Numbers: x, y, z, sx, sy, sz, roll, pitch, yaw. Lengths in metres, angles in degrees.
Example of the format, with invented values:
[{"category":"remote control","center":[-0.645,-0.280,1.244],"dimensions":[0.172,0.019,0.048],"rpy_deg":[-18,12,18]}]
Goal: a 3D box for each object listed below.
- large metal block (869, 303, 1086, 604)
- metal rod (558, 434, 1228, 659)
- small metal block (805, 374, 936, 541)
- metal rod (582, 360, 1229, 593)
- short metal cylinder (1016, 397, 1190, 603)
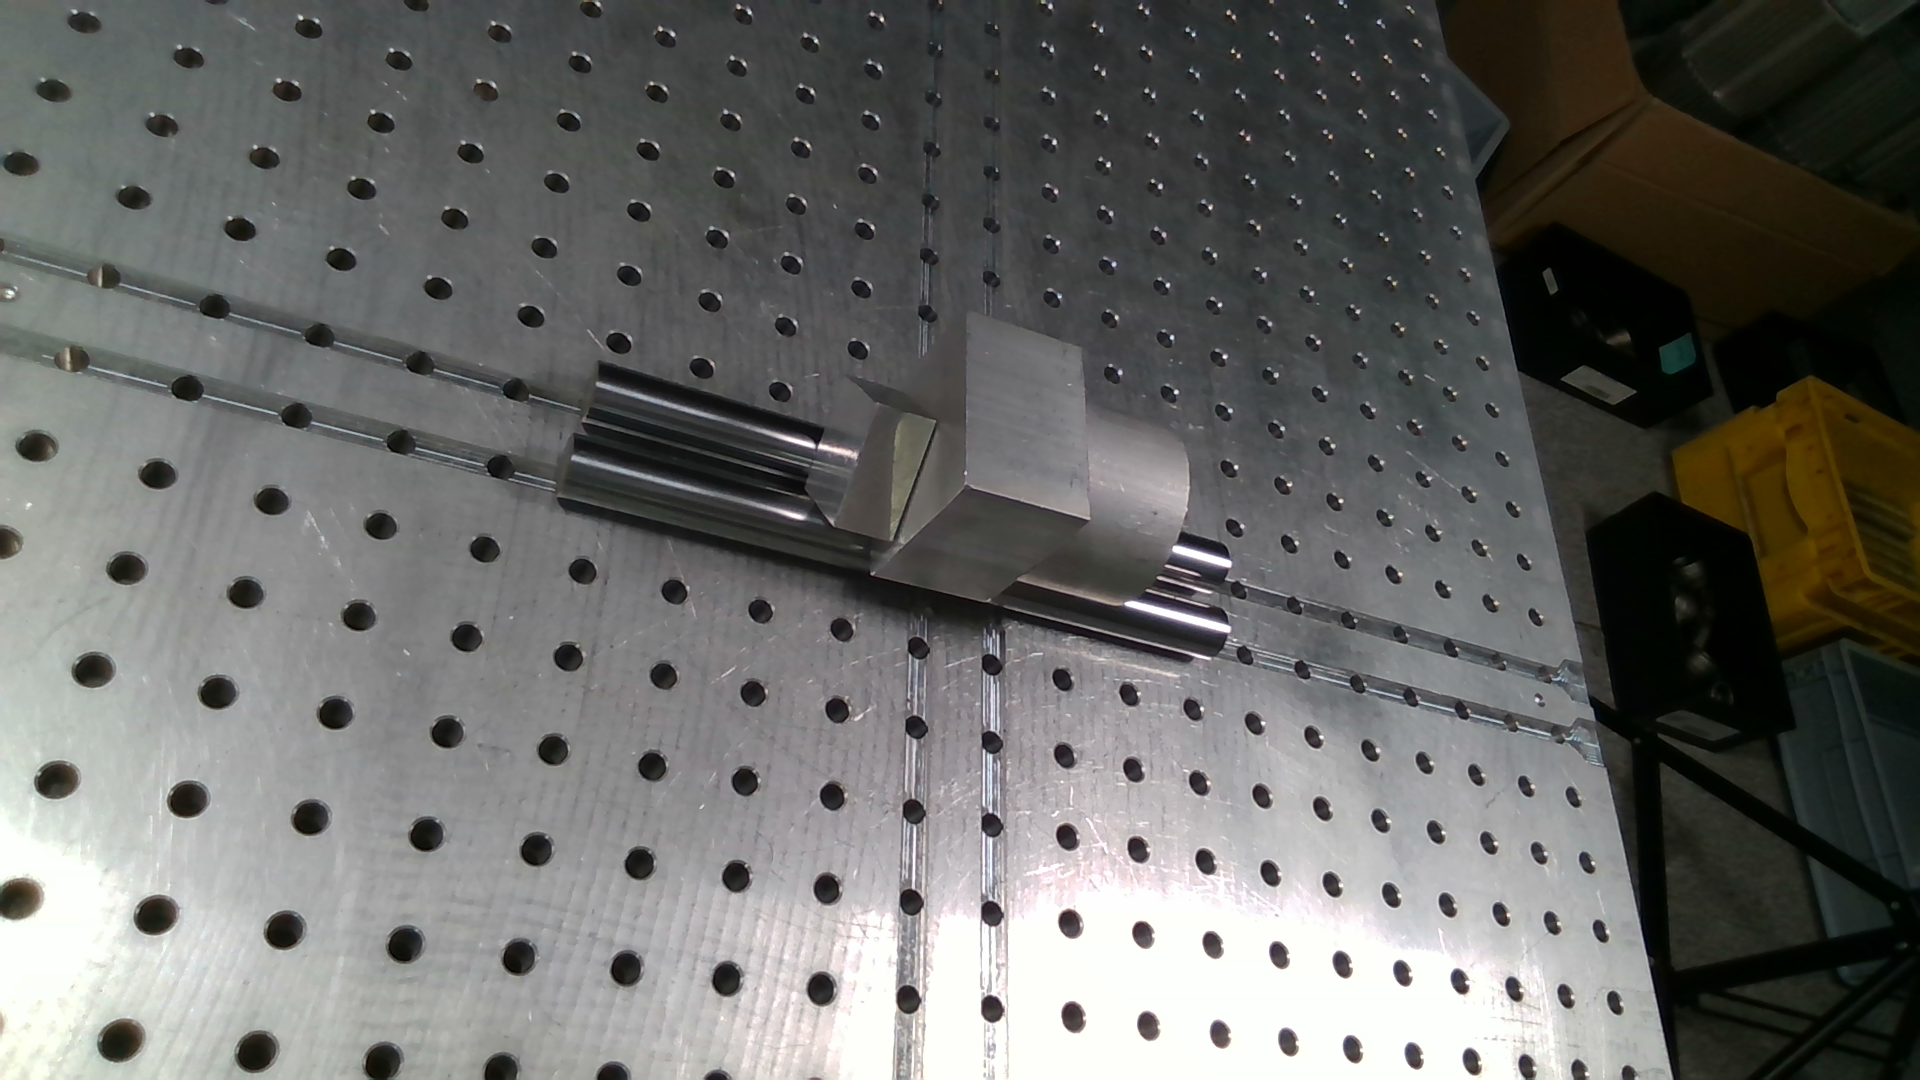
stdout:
[{"category":"large metal block","center":[0.005,-0.032,0.542],"dimensions":[0.050,0.080,0.080],"rpy_deg":[15,58,-25]},{"category":"metal rod","center":[-0.015,0.008,0.577],"dimensions":[0.300,0.025,0.025],"rpy_deg":[15,58,-24]},{"category":"small metal block","center":[-0.036,-0.033,0.539],"dimensions":[0.025,0.050,0.050],"rpy_deg":[15,103,-24]},{"category":"metal rod","center":[-0.011,-0.022,0.596],"dimensions":[0.300,0.025,0.025],"rpy_deg":[15,58,-24]},{"category":"short metal cylinder","center":[0.050,-0.018,0.566],"dimensions":[0.050,0.080,0.080],"rpy_deg":[15,58,-24]}]
